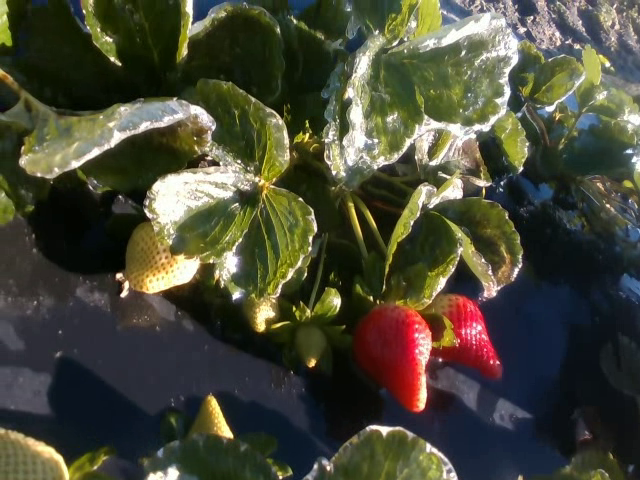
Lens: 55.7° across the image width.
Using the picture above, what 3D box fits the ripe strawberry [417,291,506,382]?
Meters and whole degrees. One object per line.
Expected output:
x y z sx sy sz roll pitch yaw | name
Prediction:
0.093 0.056 0.371 0.040 0.059 0.044 -26 16 46 | ripe strawberry

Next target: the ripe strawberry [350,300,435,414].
0.051 0.067 0.339 0.040 0.070 0.052 -24 -29 35 | ripe strawberry
